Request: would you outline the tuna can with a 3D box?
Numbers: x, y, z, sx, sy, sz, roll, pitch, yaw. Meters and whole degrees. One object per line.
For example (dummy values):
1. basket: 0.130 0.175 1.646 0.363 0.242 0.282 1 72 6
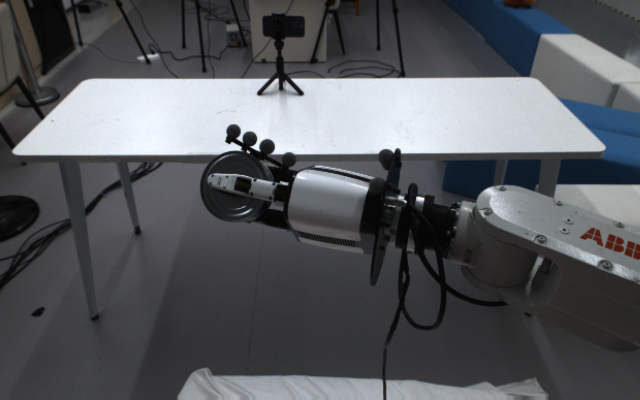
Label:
1. tuna can: -0.098 -0.015 0.591 0.085 0.085 0.034 9 -4 10
